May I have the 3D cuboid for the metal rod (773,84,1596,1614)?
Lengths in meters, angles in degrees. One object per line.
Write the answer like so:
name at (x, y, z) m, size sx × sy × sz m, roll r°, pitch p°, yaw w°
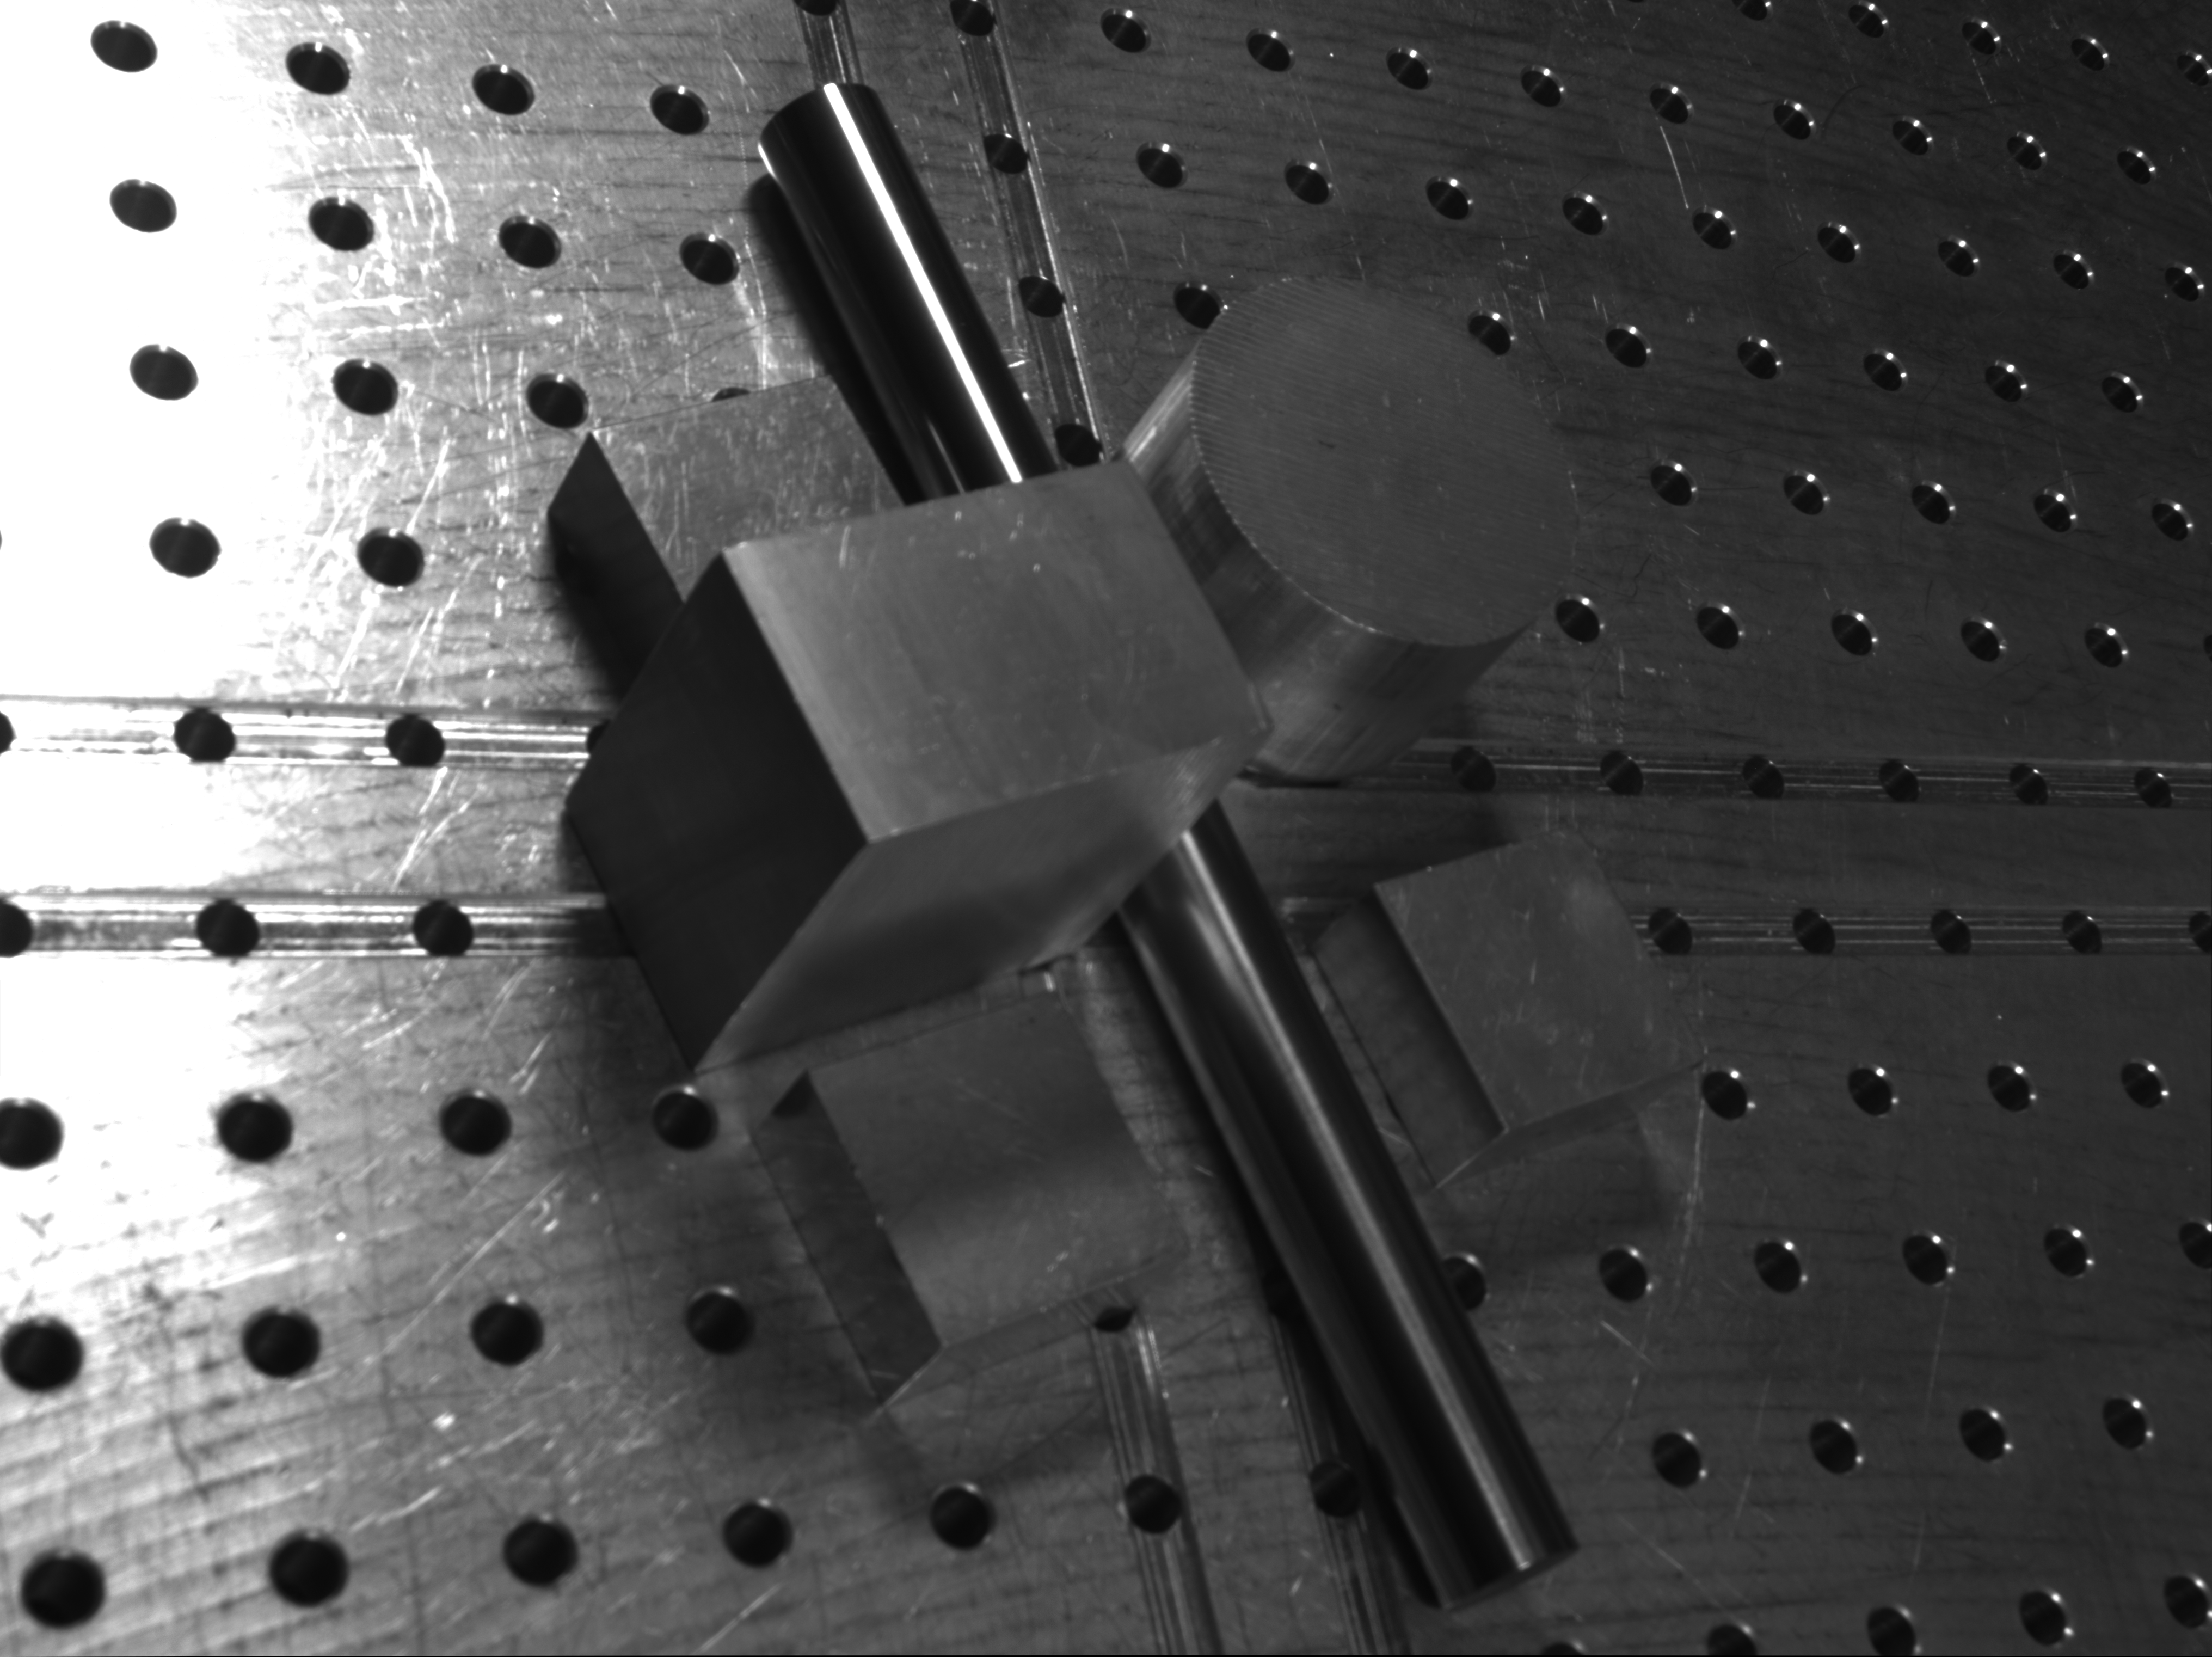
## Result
metal rod at (0.009, -0.005, 0.650) m, size 0.025 × 0.025 × 0.300 m, roll -13°, pitch 68°, yaw -33°

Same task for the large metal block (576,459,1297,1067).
large metal block at (-0.029, -0.011, 0.597) m, size 0.080 × 0.080 × 0.050 m, roll -16°, pitch 70°, yaw -34°

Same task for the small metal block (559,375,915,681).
small metal block at (-0.059, -0.047, 0.640) m, size 0.050 × 0.025 × 0.050 m, roll -19°, pitch 71°, yaw -35°

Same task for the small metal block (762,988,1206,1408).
small metal block at (-0.020, 0.059, 0.596) m, size 0.050 × 0.025 × 0.050 m, roll -17°, pitch 70°, yaw -35°

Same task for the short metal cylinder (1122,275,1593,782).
short metal cylinder at (0.043, -0.056, 0.684) m, size 0.080 × 0.050 × 0.080 m, roll 14°, pitch 56°, yaw -21°

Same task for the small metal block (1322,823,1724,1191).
small metal block at (0.075, 0.032, 0.664) m, size 0.050 × 0.025 × 0.050 m, roll -15°, pitch 70°, yaw -34°
